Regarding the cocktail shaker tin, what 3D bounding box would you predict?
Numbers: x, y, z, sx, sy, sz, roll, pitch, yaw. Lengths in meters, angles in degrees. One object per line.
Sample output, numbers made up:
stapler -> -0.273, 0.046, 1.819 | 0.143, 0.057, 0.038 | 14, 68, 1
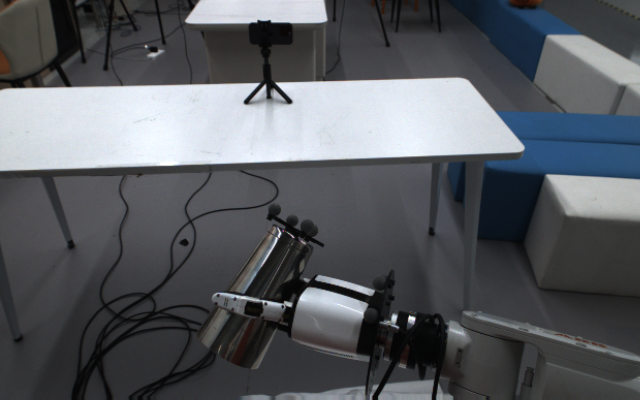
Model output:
cocktail shaker tin -> -0.078, 0.119, 0.638 | 0.093, 0.093, 0.170 | 27, 83, 31
